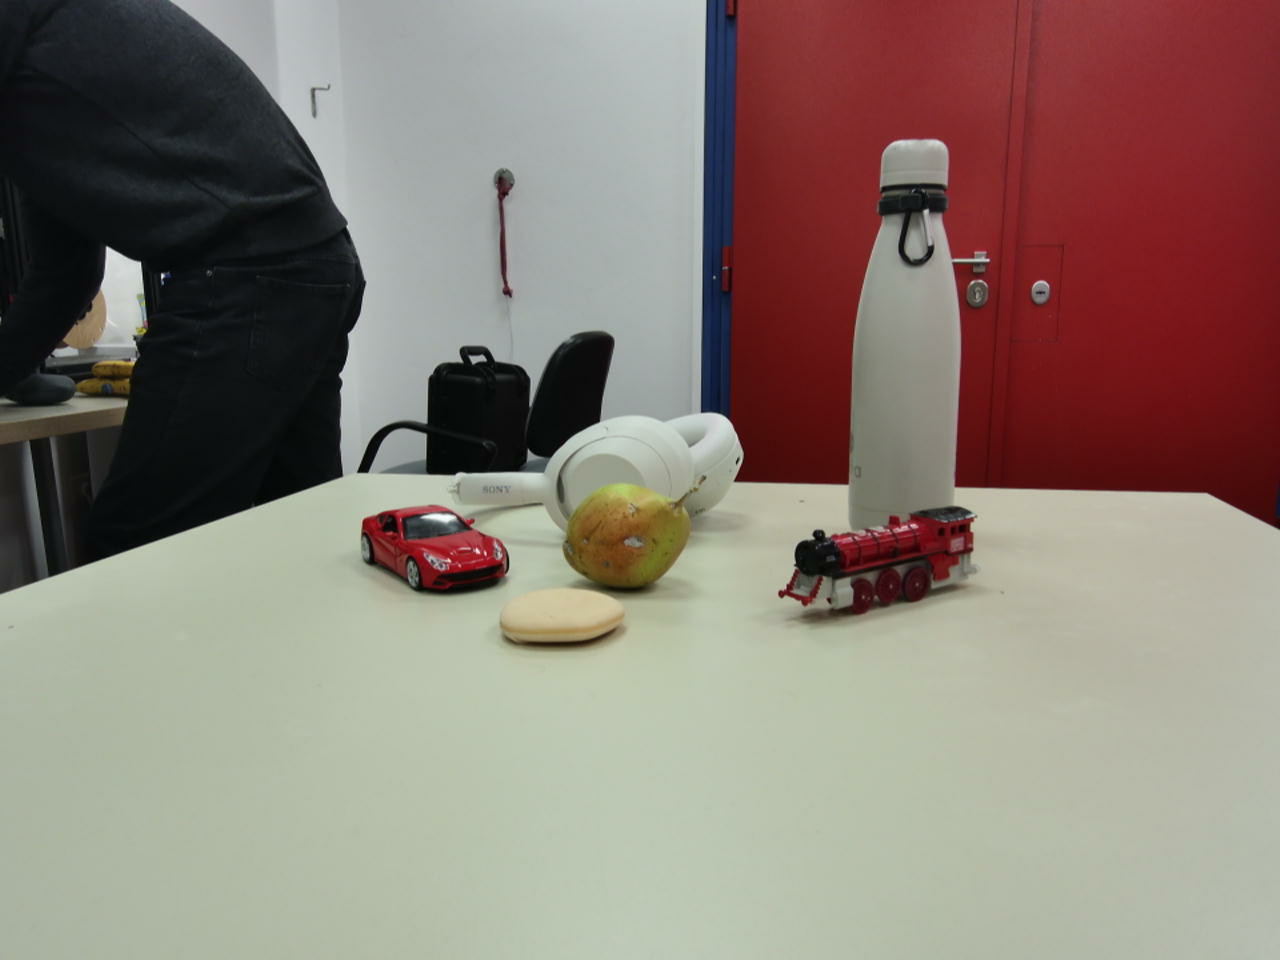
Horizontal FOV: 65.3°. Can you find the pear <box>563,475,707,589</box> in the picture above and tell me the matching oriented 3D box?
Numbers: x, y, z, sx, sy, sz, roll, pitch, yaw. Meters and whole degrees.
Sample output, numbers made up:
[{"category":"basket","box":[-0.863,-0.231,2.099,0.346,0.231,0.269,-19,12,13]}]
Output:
[{"category":"pear","box":[-0.008,0.030,0.593,0.068,0.069,0.070,-3,8,-27]}]
